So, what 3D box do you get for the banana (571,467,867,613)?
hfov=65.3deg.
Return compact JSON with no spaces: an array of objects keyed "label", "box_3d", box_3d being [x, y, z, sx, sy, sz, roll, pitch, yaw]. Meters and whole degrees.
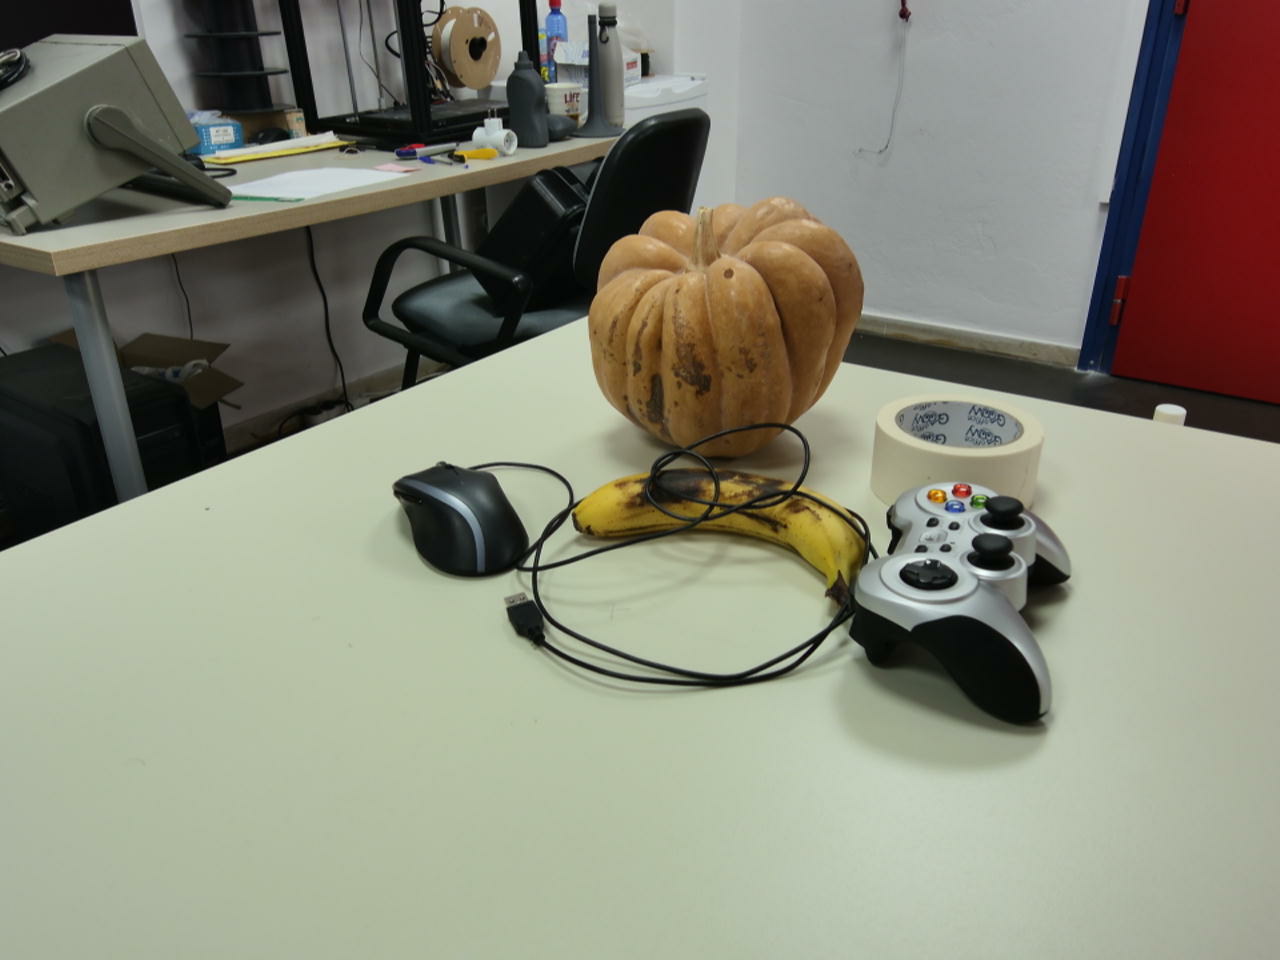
[{"label":"banana","box_3d":[0.056,0.025,0.605,0.187,0.039,0.094,16,29,31]}]
